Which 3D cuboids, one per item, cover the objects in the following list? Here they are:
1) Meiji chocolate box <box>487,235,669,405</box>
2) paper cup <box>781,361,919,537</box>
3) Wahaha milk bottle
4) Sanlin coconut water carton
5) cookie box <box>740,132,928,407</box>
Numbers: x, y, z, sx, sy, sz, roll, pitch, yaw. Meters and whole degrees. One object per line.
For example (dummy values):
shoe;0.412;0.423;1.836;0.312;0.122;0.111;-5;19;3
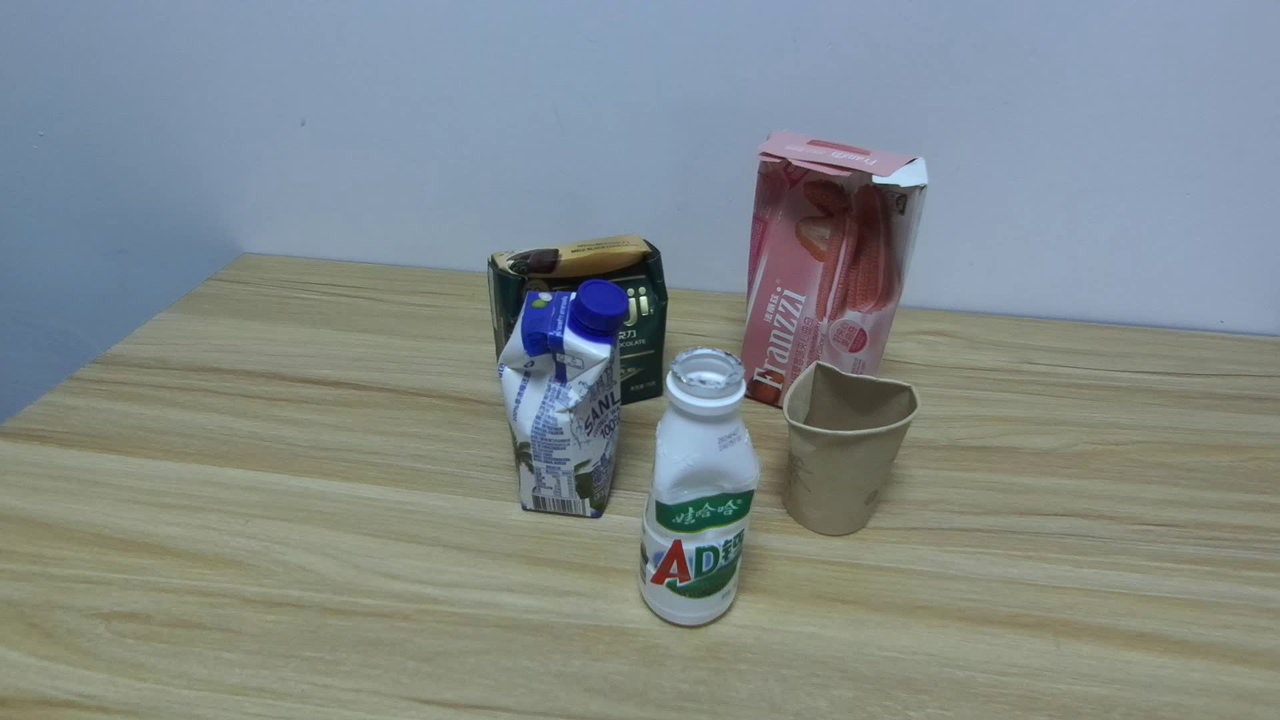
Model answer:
Meiji chocolate box;-0.042;-0.023;0.501;0.113;0.111;0.058;-10;25;-19
paper cup;0.116;0.055;0.409;0.071;0.084;0.066;13;36;19
Wahaha milk bottle;0.028;0.062;0.338;0.055;0.149;0.055;1;32;0
Sanlin coconut water carton;-0.042;0.022;0.402;0.070;0.144;0.061;6;35;6
cookie box;0.119;-0.047;0.472;0.118;0.184;0.055;21;39;29
